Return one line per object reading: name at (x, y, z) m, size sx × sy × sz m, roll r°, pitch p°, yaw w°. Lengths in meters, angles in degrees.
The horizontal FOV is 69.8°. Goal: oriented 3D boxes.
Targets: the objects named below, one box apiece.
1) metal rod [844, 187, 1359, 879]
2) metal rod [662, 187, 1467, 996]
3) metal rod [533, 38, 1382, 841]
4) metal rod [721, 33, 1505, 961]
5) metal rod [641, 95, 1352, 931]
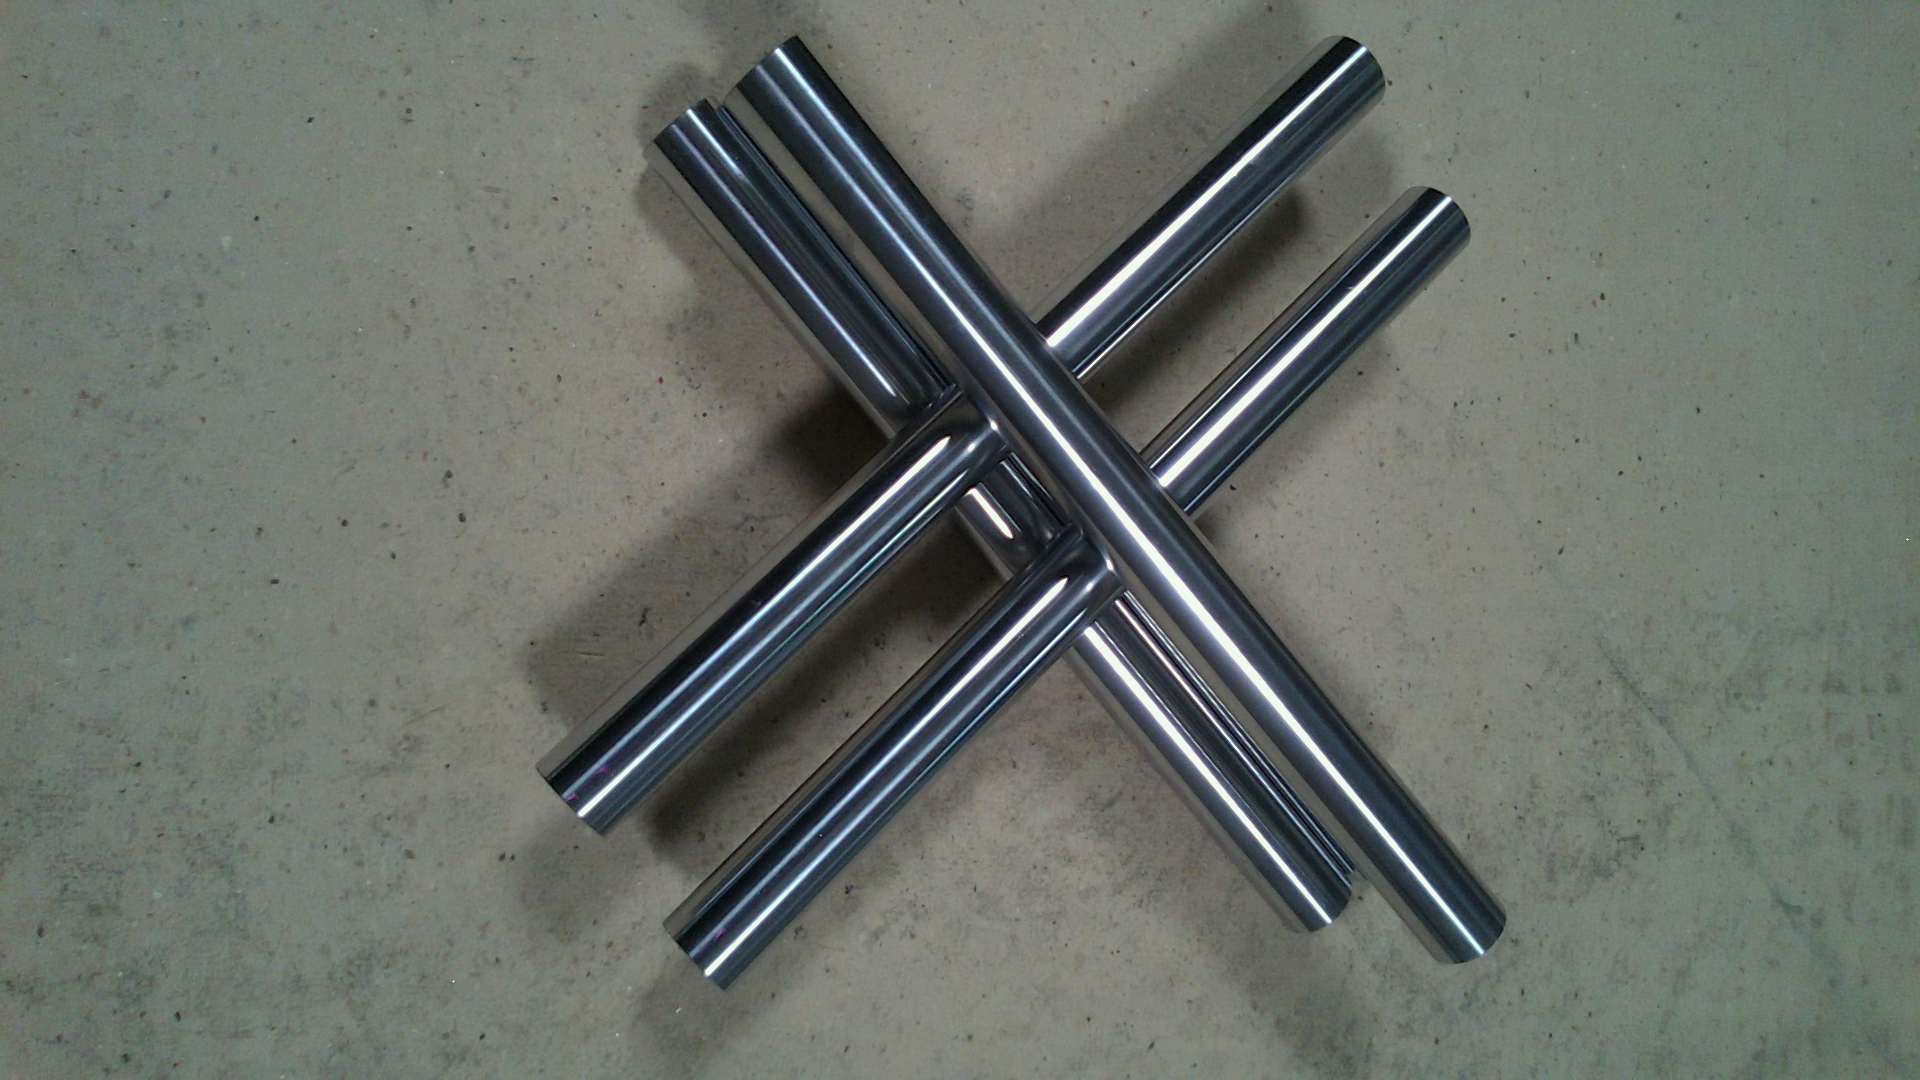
metal rod at (0.039, -0.012, 0.407) m, size 0.025 × 0.025 × 0.300 m, roll -44°, pitch 104°, yaw -15°
metal rod at (0.039, 0.004, 0.381) m, size 0.300 × 0.025 × 0.025 m, roll -44°, pitch 104°, yaw -15°
metal rod at (0.010, -0.037, 0.371) m, size 0.300 × 0.025 × 0.025 m, roll -44°, pitch 104°, yaw -15°
metal rod at (0.049, 0.000, 0.358) m, size 0.025 × 0.025 × 0.300 m, roll -44°, pitch 104°, yaw -14°
metal rod at (0.019, 0.002, 0.400) m, size 0.025 × 0.025 × 0.300 m, roll -44°, pitch 104°, yaw -15°
